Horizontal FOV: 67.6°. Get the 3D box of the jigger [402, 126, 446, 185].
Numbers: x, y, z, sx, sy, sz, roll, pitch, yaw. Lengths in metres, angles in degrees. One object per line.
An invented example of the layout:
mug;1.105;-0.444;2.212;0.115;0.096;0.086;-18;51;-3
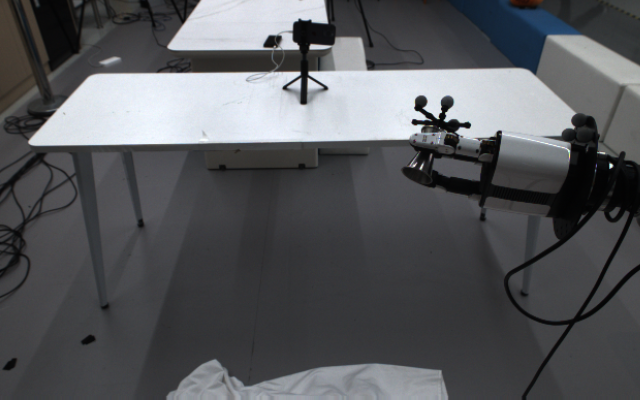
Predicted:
jigger;0.142;-0.063;0.652;0.043;0.043;0.071;20;73;24
